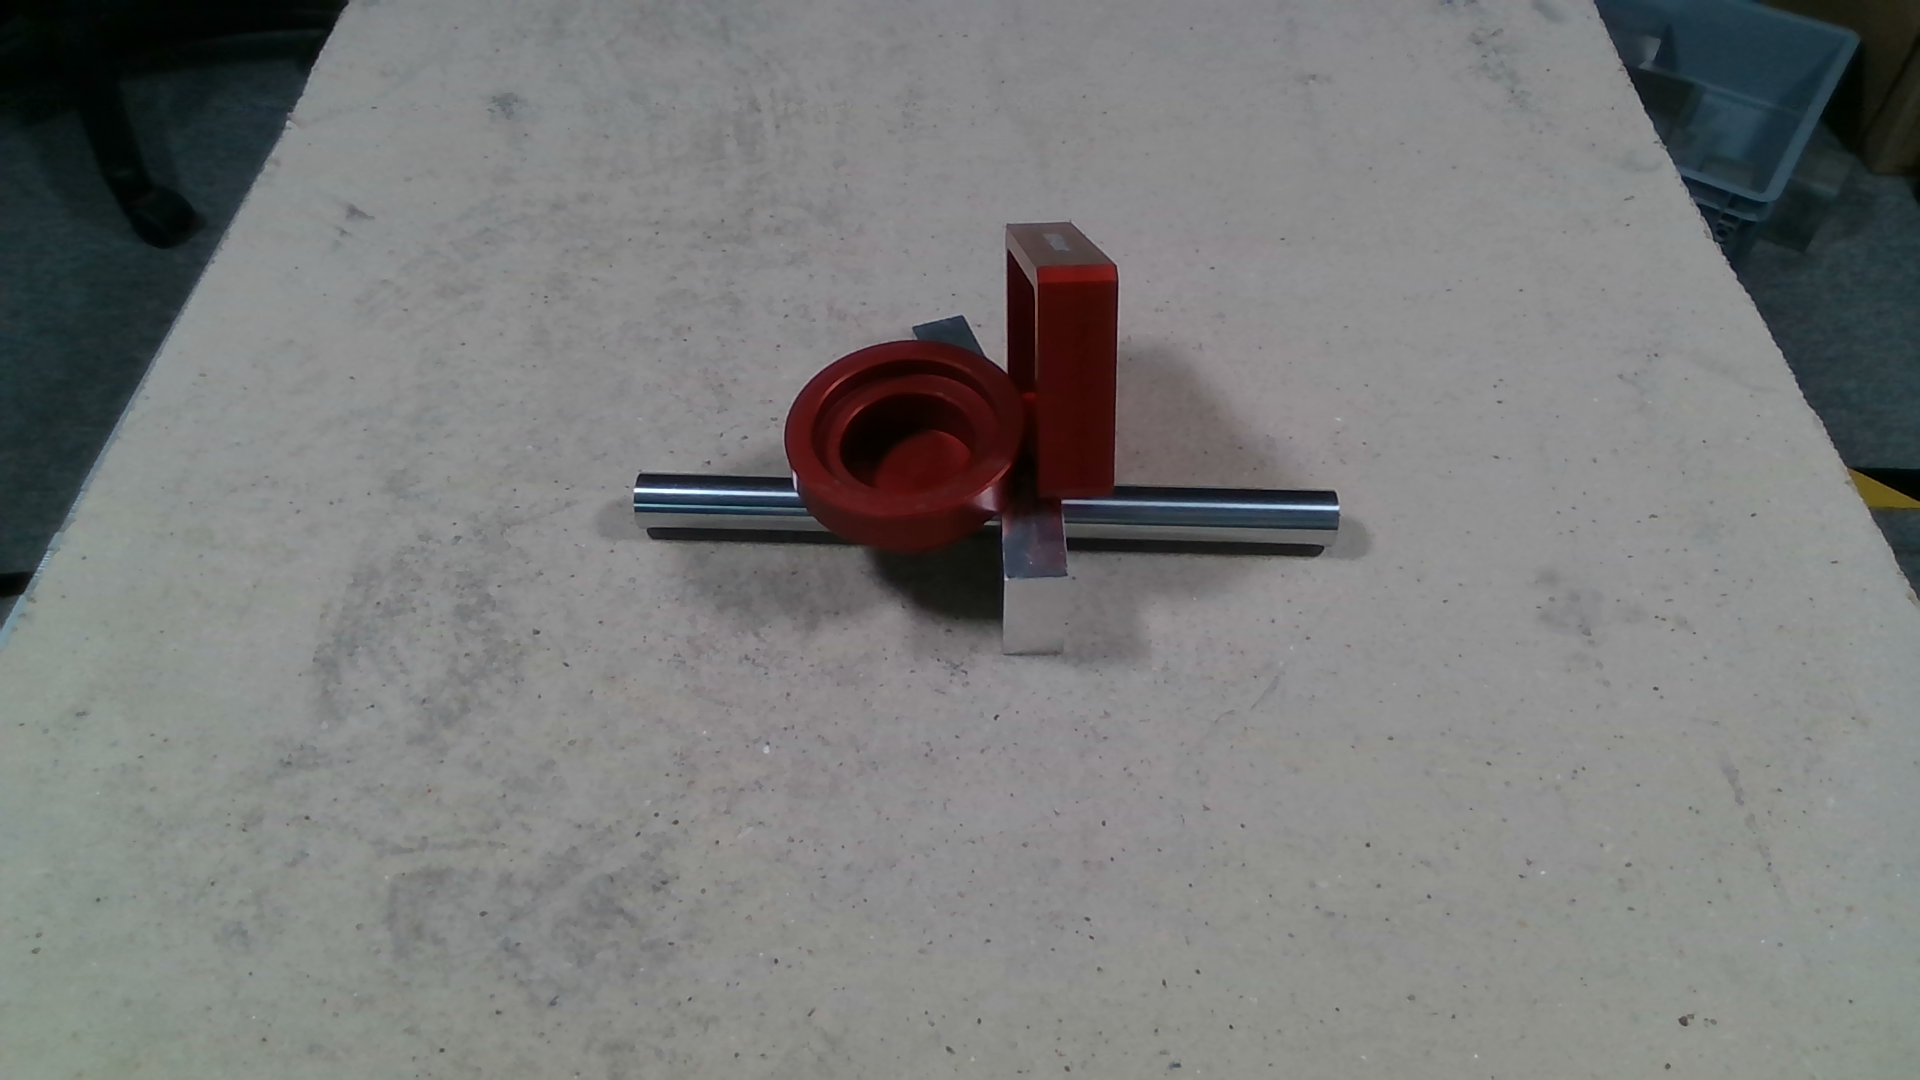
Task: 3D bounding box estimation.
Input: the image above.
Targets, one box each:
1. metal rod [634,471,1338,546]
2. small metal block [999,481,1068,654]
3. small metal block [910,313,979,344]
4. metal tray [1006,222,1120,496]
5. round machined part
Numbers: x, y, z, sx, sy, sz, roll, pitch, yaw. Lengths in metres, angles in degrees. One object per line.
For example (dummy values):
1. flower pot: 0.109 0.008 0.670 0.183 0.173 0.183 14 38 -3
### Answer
1. metal rod: 0.010 -0.014 0.599 0.300 0.025 0.025 2 50 1
2. small metal block: 0.028 0.011 0.561 0.025 0.050 0.050 -1 50 -1
3. small metal block: -0.002 -0.066 0.626 0.025 0.050 0.050 -15 52 -12
4. metal tray: 0.040 -0.081 0.582 0.030 0.090 0.130 -2 21 -3
5. round machined part: -0.021 -0.035 0.569 0.098 0.042 0.098 -2 52 3
